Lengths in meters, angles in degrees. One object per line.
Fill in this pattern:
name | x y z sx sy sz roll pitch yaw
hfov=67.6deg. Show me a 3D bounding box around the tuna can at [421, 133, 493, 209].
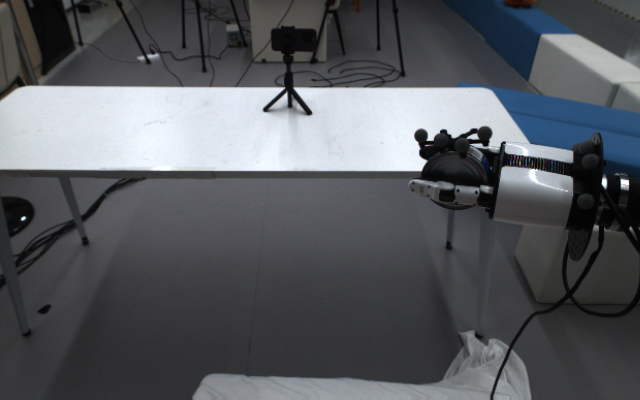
tuna can | 0.180 -0.034 0.639 0.085 0.085 0.034 17 37 20
